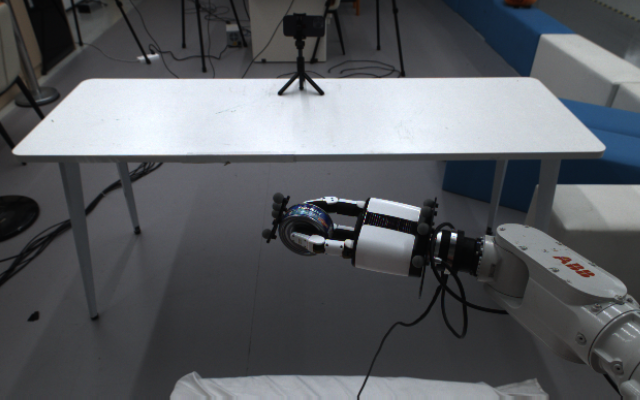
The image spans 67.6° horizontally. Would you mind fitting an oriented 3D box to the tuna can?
[{"bbox_3d":[-0.021,0.053,0.777,0.085,0.085,0.034,9,36,10],"label":"tuna can"}]
